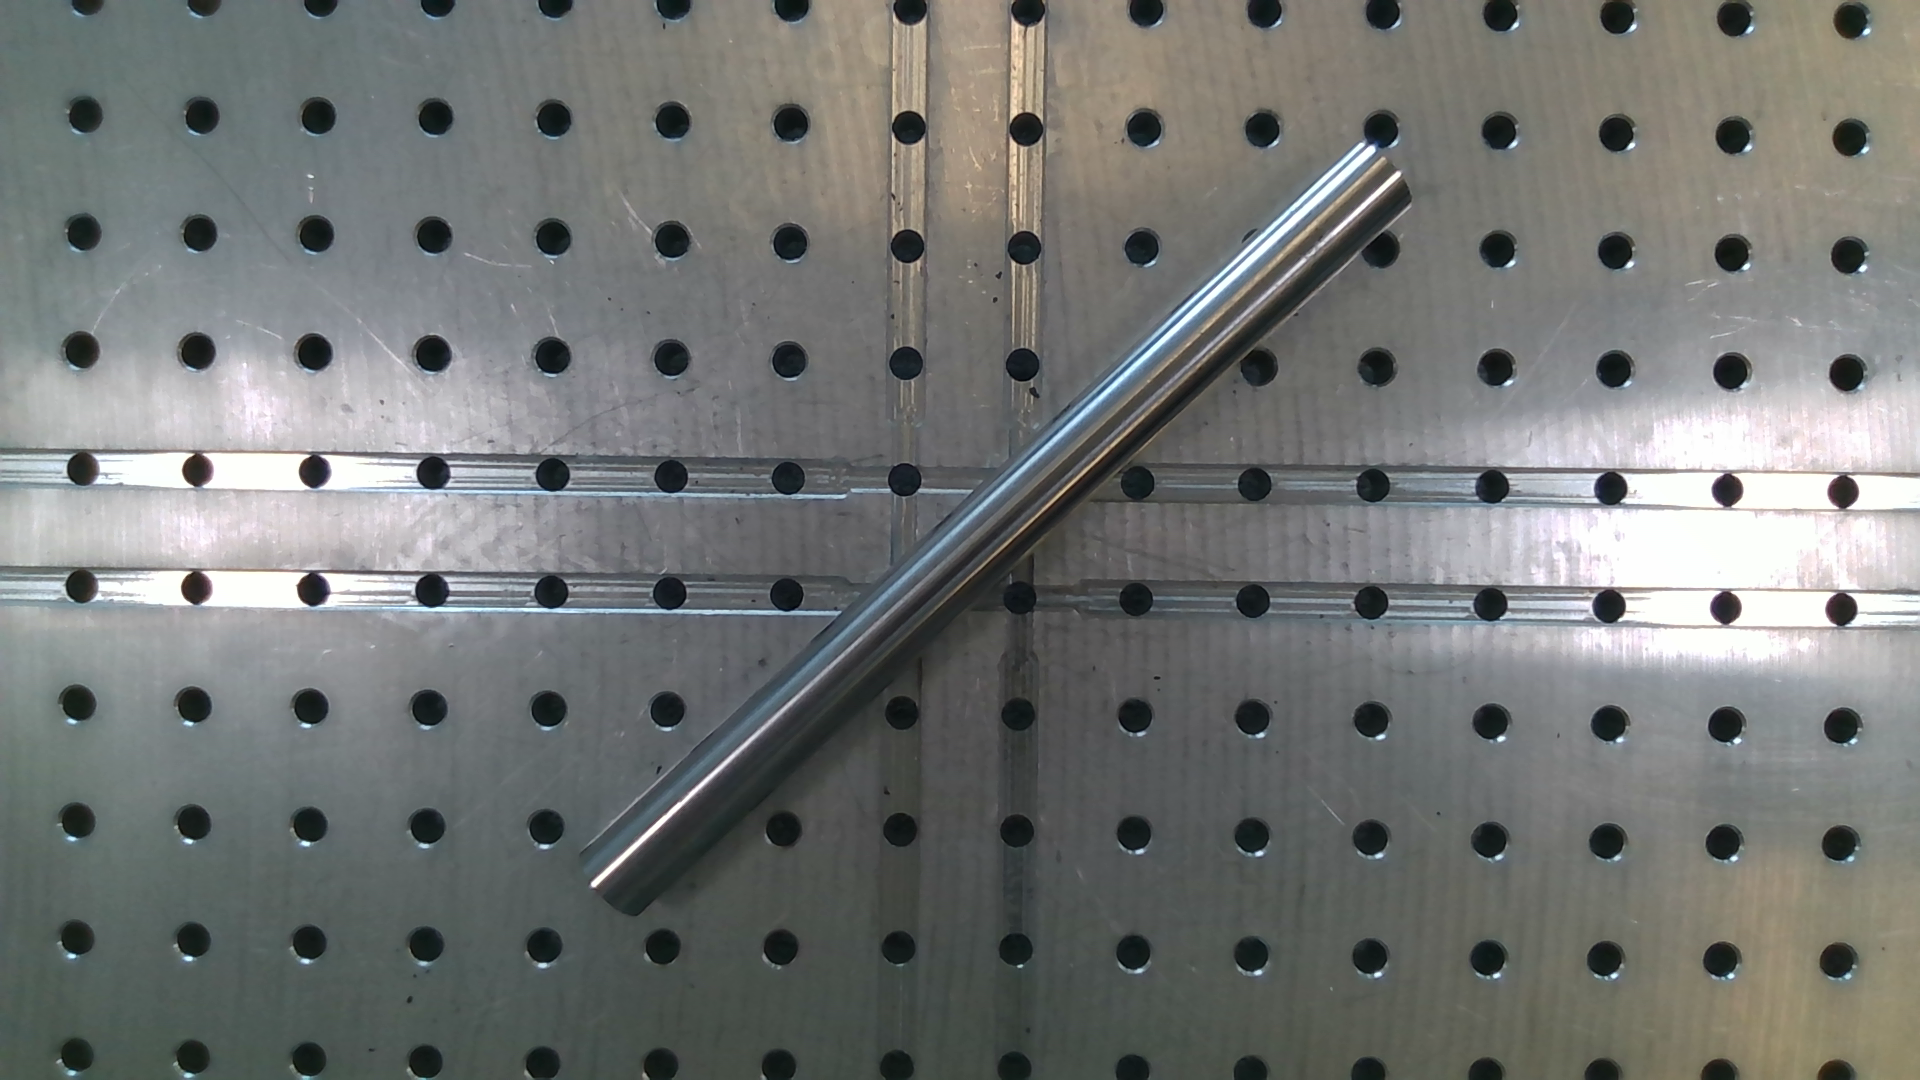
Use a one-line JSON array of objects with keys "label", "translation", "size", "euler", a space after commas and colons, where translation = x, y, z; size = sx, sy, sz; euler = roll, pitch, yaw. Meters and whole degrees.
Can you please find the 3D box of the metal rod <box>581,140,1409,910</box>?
[{"label": "metal rod", "translation": [0.010, -0.004, 0.398], "size": [0.300, 0.025, 0.025], "euler": [-43, 90, 0]}]
